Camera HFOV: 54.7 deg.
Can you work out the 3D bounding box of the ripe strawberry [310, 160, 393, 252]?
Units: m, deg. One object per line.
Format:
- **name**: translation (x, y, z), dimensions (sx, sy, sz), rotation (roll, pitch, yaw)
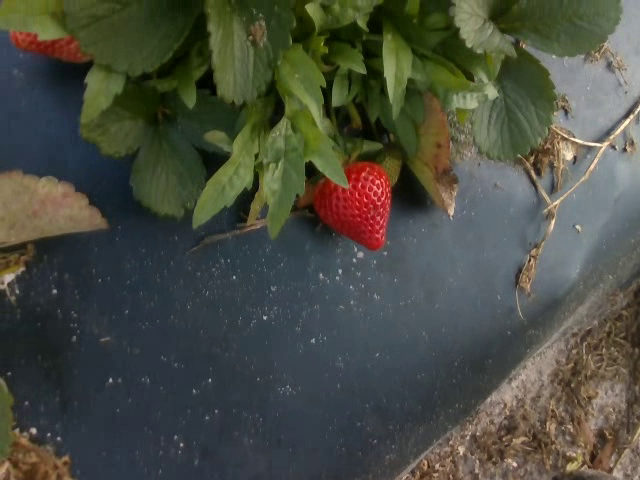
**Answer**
- **ripe strawberry**: translation (0.017, -0.017, 0.307), dimensions (0.043, 0.051, 0.042), rotation (-27, 6, -20)
